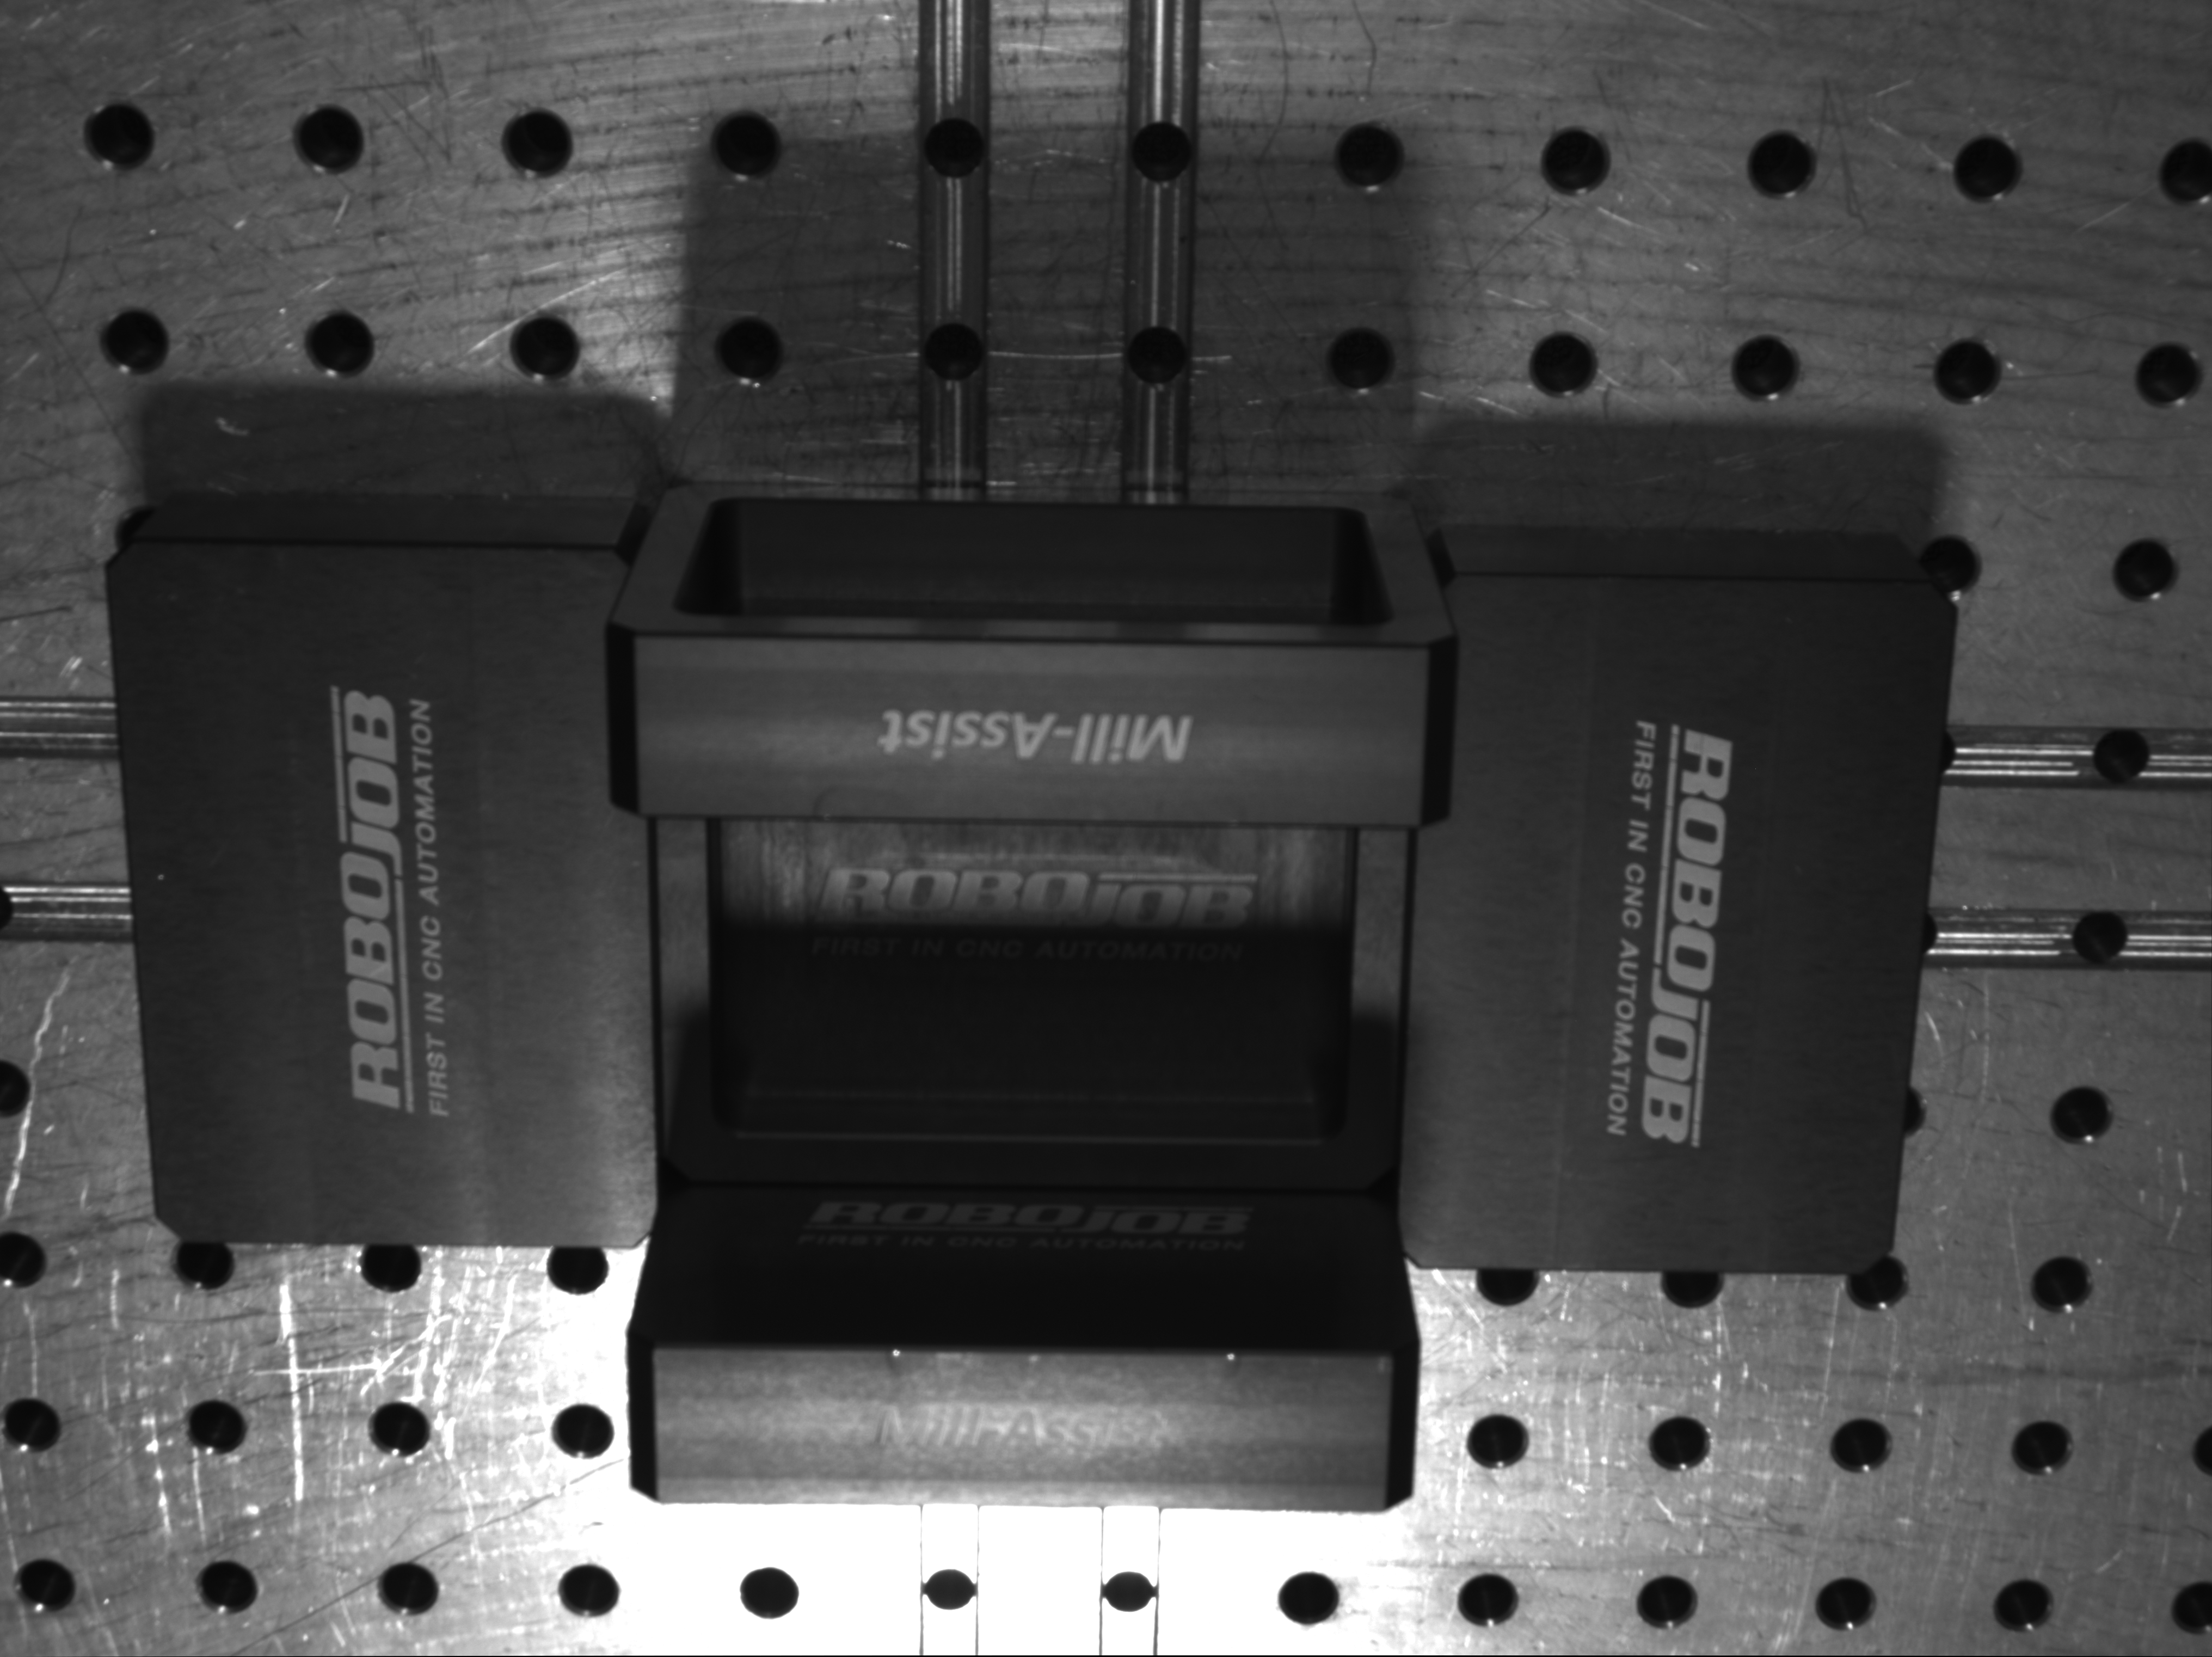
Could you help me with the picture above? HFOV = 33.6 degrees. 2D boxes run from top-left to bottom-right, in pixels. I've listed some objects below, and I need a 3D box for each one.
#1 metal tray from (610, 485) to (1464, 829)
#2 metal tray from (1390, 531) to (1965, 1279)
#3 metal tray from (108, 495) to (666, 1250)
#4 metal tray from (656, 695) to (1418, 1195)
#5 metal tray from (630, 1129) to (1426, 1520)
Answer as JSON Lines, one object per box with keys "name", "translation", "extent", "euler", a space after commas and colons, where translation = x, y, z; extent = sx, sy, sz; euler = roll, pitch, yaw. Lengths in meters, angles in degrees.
{"name": "metal tray", "translation": [-0.011, -0.030, 0.600], "extent": [0.130, 0.090, 0.030], "euler": [1, 110, -1]}
{"name": "metal tray", "translation": [0.098, 0.015, 0.648], "extent": [0.090, 0.030, 0.130], "euler": [1, 110, -2]}
{"name": "metal tray", "translation": [-0.122, 0.009, 0.644], "extent": [0.090, 0.030, 0.130], "euler": [1, 110, -1]}
{"name": "metal tray", "translation": [-0.012, 0.017, 0.647], "extent": [0.130, 0.030, 0.090], "euler": [1, 110, -1]}
{"name": "metal tray", "translation": [-0.013, 0.084, 0.640], "extent": [0.130, 0.090, 0.030], "euler": [1, 110, -1]}
